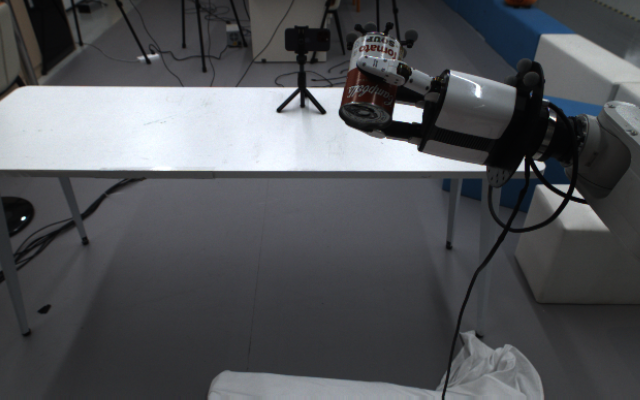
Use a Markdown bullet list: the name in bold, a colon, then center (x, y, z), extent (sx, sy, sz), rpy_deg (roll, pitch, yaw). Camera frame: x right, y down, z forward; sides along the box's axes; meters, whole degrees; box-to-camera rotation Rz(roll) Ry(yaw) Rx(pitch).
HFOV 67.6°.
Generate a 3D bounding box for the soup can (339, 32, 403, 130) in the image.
- **soup can**: center (0.066, -0.152, 0.615), extent (0.067, 0.067, 0.101), rpy_deg (8, 74, 9)
